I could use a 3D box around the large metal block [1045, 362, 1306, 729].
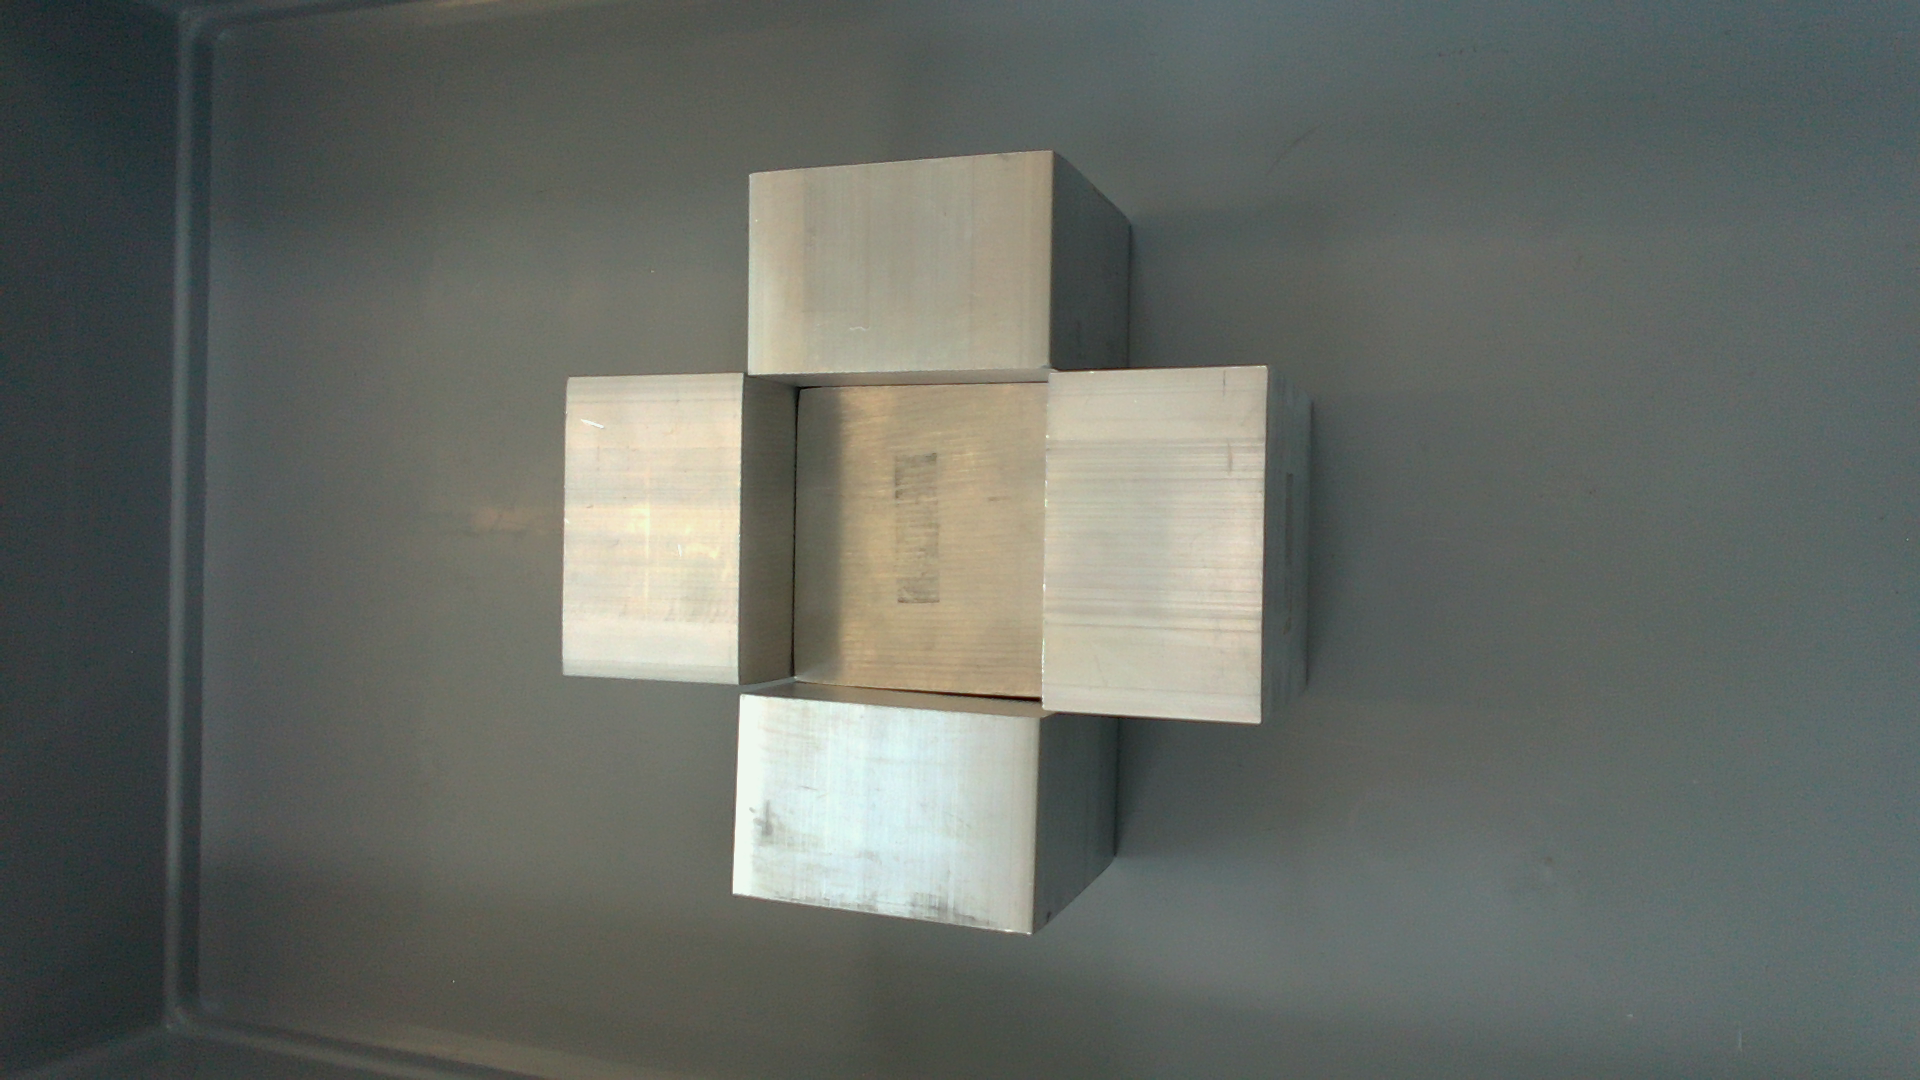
[{"bbox_3d":[0.057,0.001,0.346,0.050,0.080,0.080,1,90,20],"label":"large metal block"}]

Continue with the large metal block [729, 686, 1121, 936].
[{"bbox_3d":[-0.006,0.065,0.367,0.080,0.080,0.050,2,91,20],"label":"large metal block"}]

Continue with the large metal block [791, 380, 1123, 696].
[{"bbox_3d":[0.001,-0.001,0.380,0.080,0.050,0.080,1,90,20],"label":"large metal block"}]

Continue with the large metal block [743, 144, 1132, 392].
[{"bbox_3d":[-0.002,-0.066,0.366,0.080,0.080,0.050,1,90,20],"label":"large metal block"}]

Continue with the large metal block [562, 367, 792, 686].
[{"bbox_3d":[-0.067,-0.004,0.390,0.050,0.080,0.080,1,90,20],"label":"large metal block"}]
